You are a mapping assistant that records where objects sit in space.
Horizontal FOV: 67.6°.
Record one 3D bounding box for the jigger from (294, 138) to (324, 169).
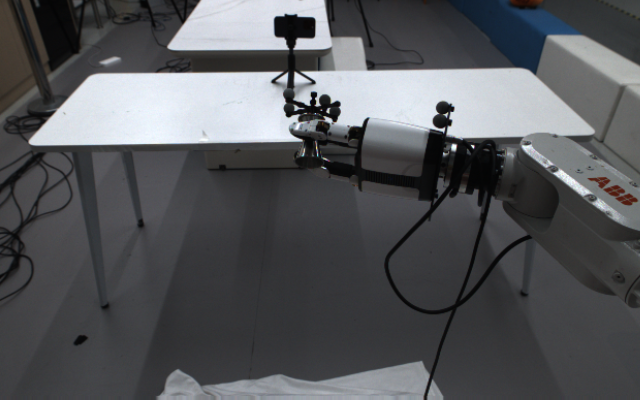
[{"bbox_3d":[-0.015,-0.086,0.690,0.043,0.043,0.071,3,72,1],"label":"jigger"}]
